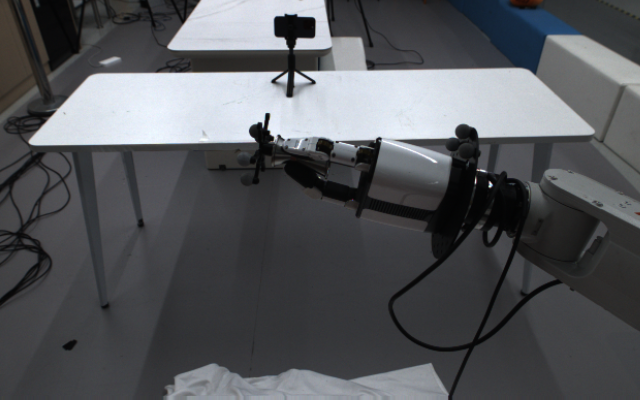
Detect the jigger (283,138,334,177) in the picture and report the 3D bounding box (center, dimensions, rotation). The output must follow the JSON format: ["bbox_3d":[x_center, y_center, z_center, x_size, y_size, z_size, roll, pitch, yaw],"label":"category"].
[{"bbox_3d":[-0.014,-0.057,0.584,0.071,0.043,0.043,11,35,3],"label":"jigger"}]
